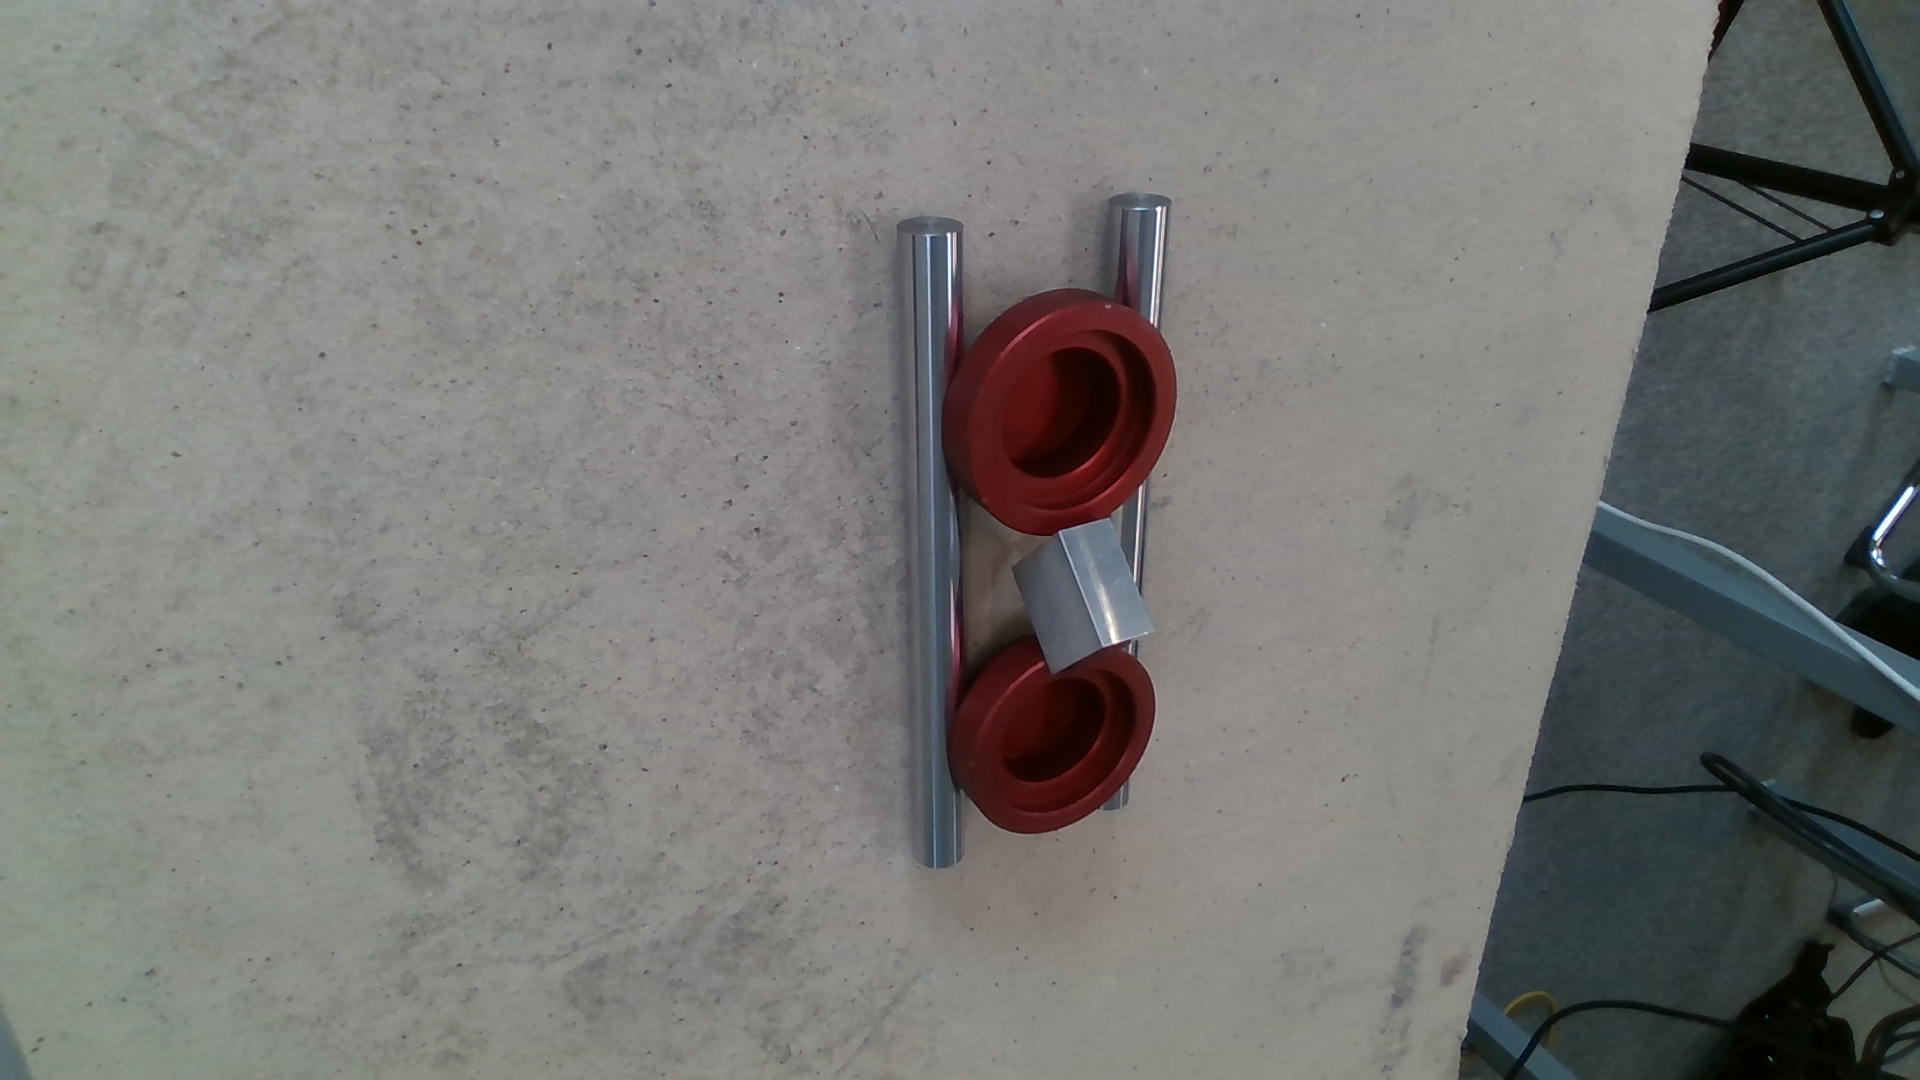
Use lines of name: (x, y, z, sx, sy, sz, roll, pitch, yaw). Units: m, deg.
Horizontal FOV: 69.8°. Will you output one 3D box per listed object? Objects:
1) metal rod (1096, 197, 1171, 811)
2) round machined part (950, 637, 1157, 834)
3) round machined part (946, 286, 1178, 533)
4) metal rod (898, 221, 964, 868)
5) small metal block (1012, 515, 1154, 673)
metal rod: (0.072, -0.004, 0.623, 0.025, 0.025, 0.301, -15, 122, -25)
round machined part: (0.038, 0.082, 0.632, 0.098, 0.042, 0.098, -14, 122, -25)
round machined part: (0.037, -0.055, 0.557, 0.098, 0.042, 0.098, -14, 122, -25)
metal rod: (-0.011, 0.015, 0.583, 0.025, 0.025, 0.301, -15, 122, -25)
small metal block: (0.050, 0.023, 0.575, 0.025, 0.050, 0.050, -15, 78, -26)
